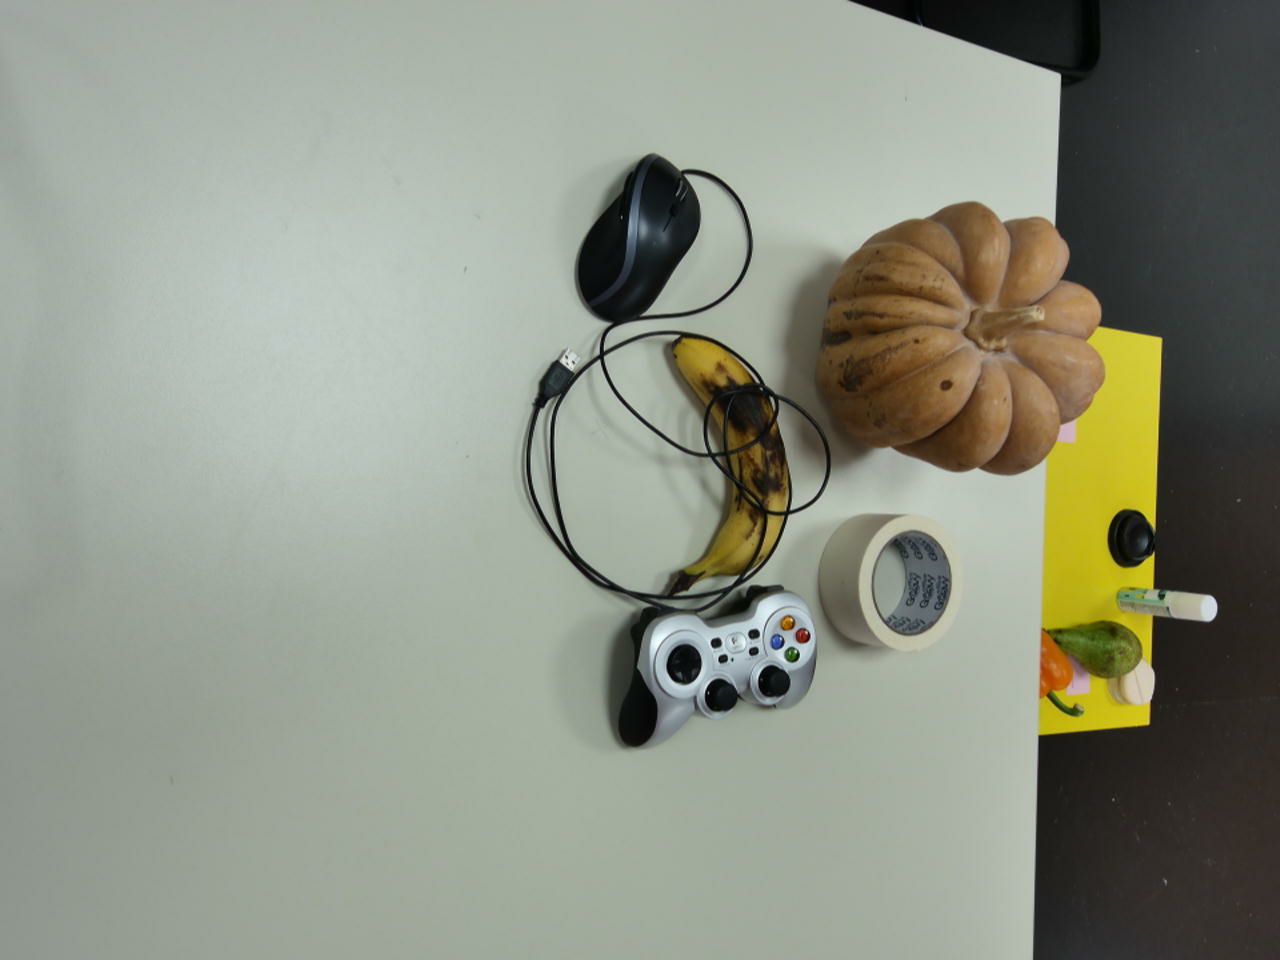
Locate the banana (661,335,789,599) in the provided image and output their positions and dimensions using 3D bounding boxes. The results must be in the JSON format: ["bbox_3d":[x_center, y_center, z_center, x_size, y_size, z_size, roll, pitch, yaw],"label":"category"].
[{"bbox_3d":[0.064,-0.009,0.722,0.094,0.039,0.187,3,89,-28],"label":"banana"}]
